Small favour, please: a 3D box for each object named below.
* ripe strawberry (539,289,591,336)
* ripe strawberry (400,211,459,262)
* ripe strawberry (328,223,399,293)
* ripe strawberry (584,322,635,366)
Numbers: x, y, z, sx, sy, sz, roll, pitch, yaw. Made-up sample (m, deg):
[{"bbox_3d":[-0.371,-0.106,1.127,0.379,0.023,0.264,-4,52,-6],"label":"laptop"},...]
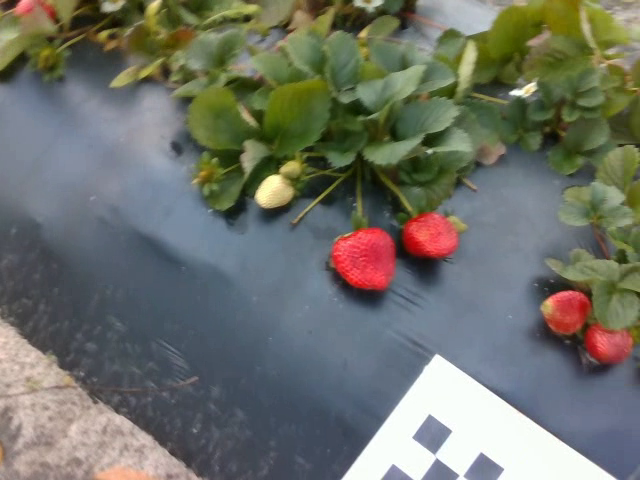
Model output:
[{"bbox_3d":[0.199,0.059,0.678,0.053,0.047,0.038,17,-7,-14],"label":"ripe strawberry"},{"bbox_3d":[0.099,-0.001,0.722,0.050,0.051,0.060,-33,19,9],"label":"ripe strawberry"},{"bbox_3d":[0.038,0.017,0.705,0.058,0.065,0.044,-28,-38,11],"label":"ripe strawberry"},{"bbox_3d":[0.226,0.081,0.651,0.043,0.041,0.049,30,21,22],"label":"ripe strawberry"}]
